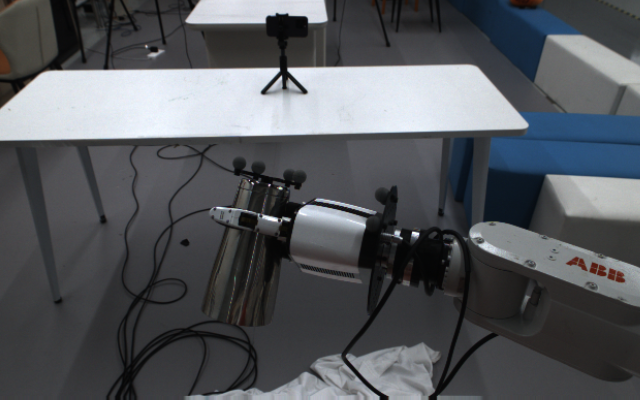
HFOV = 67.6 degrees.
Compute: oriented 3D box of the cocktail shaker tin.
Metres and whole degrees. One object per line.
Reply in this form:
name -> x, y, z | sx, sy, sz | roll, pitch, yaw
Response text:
cocktail shaker tin -> -0.084, 0.061, 0.616 | 0.093, 0.170, 0.093 | 13, 1, 0
